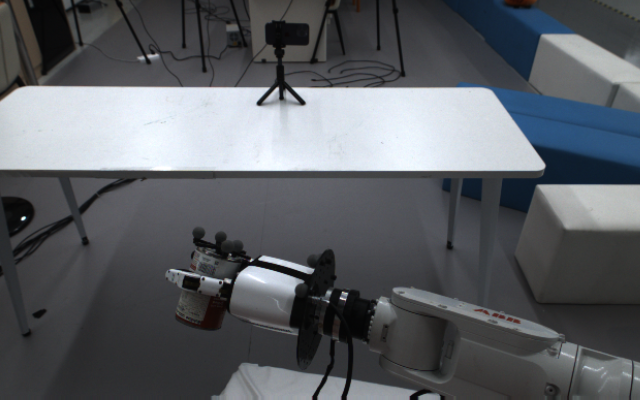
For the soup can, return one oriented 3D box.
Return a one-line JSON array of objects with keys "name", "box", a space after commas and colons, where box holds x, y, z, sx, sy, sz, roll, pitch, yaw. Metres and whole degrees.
[{"name": "soup can", "box": [-0.153, 0.122, 0.672, 0.067, 0.101, 0.067, 18, -1, 0]}]
